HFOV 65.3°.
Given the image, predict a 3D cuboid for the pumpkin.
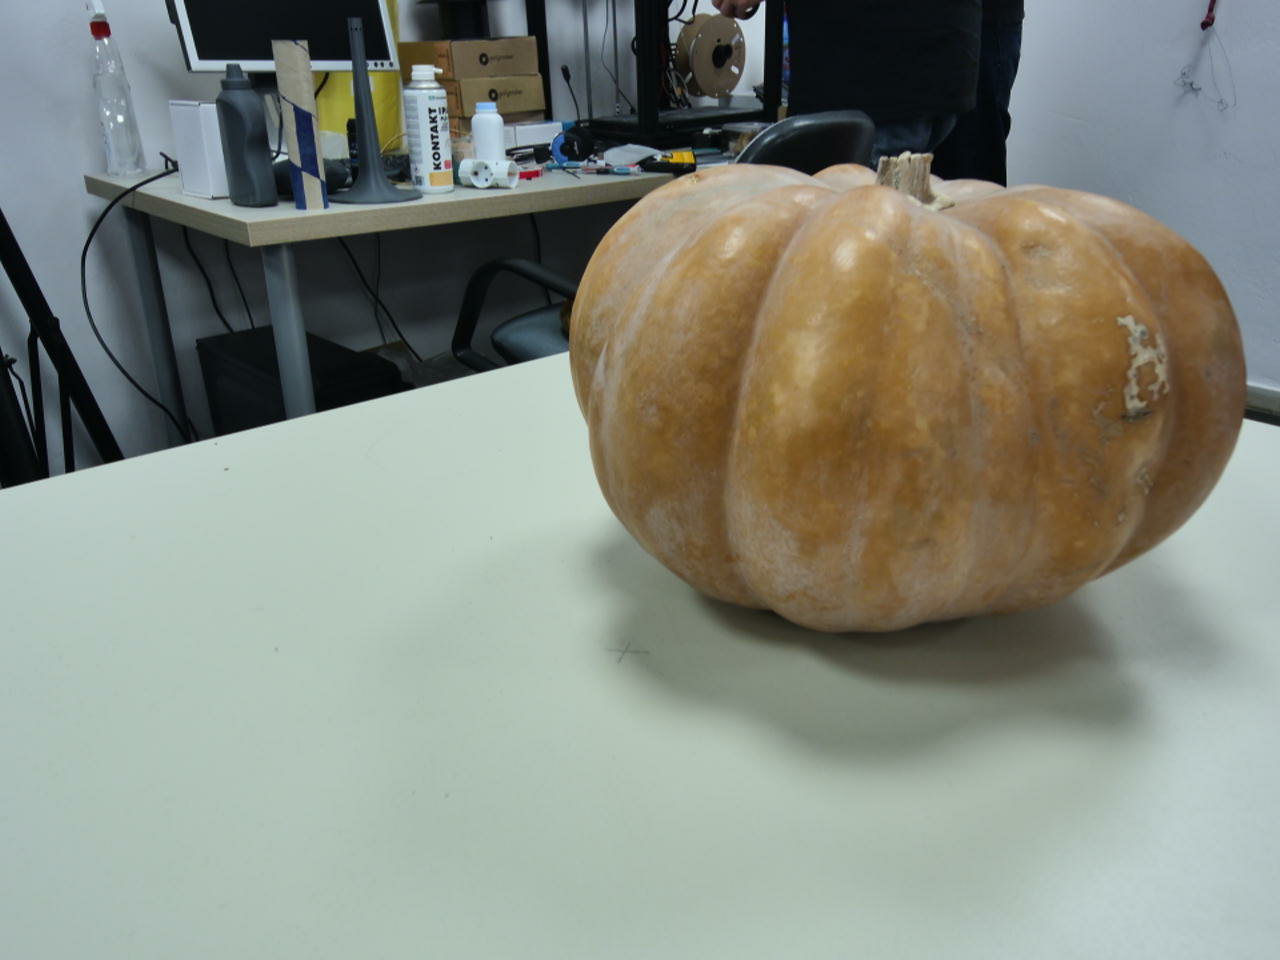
[{"bbox_3d":[0.100,-0.045,0.432,0.277,0.181,0.277,0,22,0],"label":"pumpkin"}]
